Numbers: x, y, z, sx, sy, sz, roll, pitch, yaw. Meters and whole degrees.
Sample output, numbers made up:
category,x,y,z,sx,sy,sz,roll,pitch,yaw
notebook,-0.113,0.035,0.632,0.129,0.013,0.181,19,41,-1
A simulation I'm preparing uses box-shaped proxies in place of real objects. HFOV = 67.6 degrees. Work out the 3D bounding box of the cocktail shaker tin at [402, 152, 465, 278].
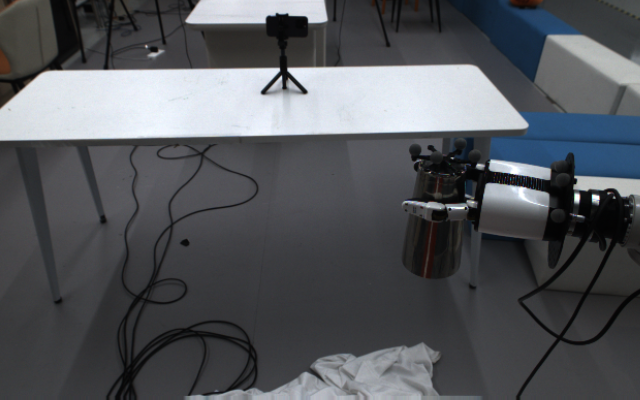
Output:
category,x,y,z,sx,sy,sz,roll,pitch,yaw
cocktail shaker tin,0.177,0.019,0.725,0.093,0.170,0.093,-1,32,1
